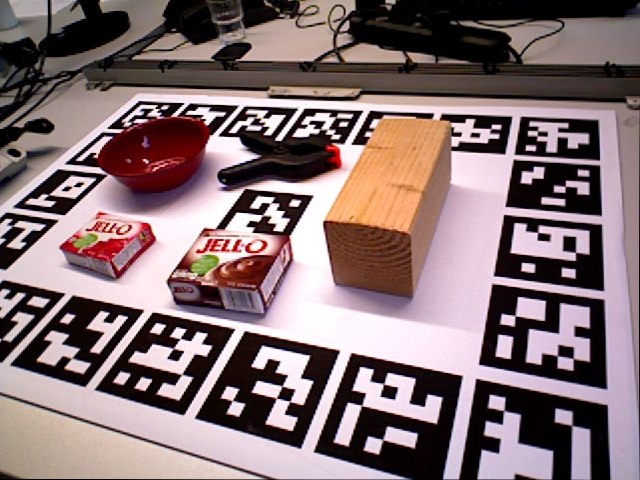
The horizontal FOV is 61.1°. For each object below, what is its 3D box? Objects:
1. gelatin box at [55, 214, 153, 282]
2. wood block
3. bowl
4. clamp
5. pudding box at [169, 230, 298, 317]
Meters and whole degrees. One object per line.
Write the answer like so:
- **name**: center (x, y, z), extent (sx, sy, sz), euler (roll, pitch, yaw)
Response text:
- **gelatin box**: center (-0.262, 0.007, 0.658), extent (0.090, 0.031, 0.071), euler (13, 48, 25)
- **wood block**: center (0.090, -0.045, 0.587), extent (0.090, 0.093, 0.201), euler (10, 46, 21)
- **bowl**: center (-0.232, -0.111, 0.776), extent (0.161, 0.056, 0.159), euler (-7, 44, 6)
- **clamp**: center (-0.066, -0.112, 0.755), extent (0.165, 0.037, 0.119), euler (0, 42, 11)
- **pudding box**: center (-0.091, 0.034, 0.584), extent (0.114, 0.039, 0.088), euler (5, 48, 21)
